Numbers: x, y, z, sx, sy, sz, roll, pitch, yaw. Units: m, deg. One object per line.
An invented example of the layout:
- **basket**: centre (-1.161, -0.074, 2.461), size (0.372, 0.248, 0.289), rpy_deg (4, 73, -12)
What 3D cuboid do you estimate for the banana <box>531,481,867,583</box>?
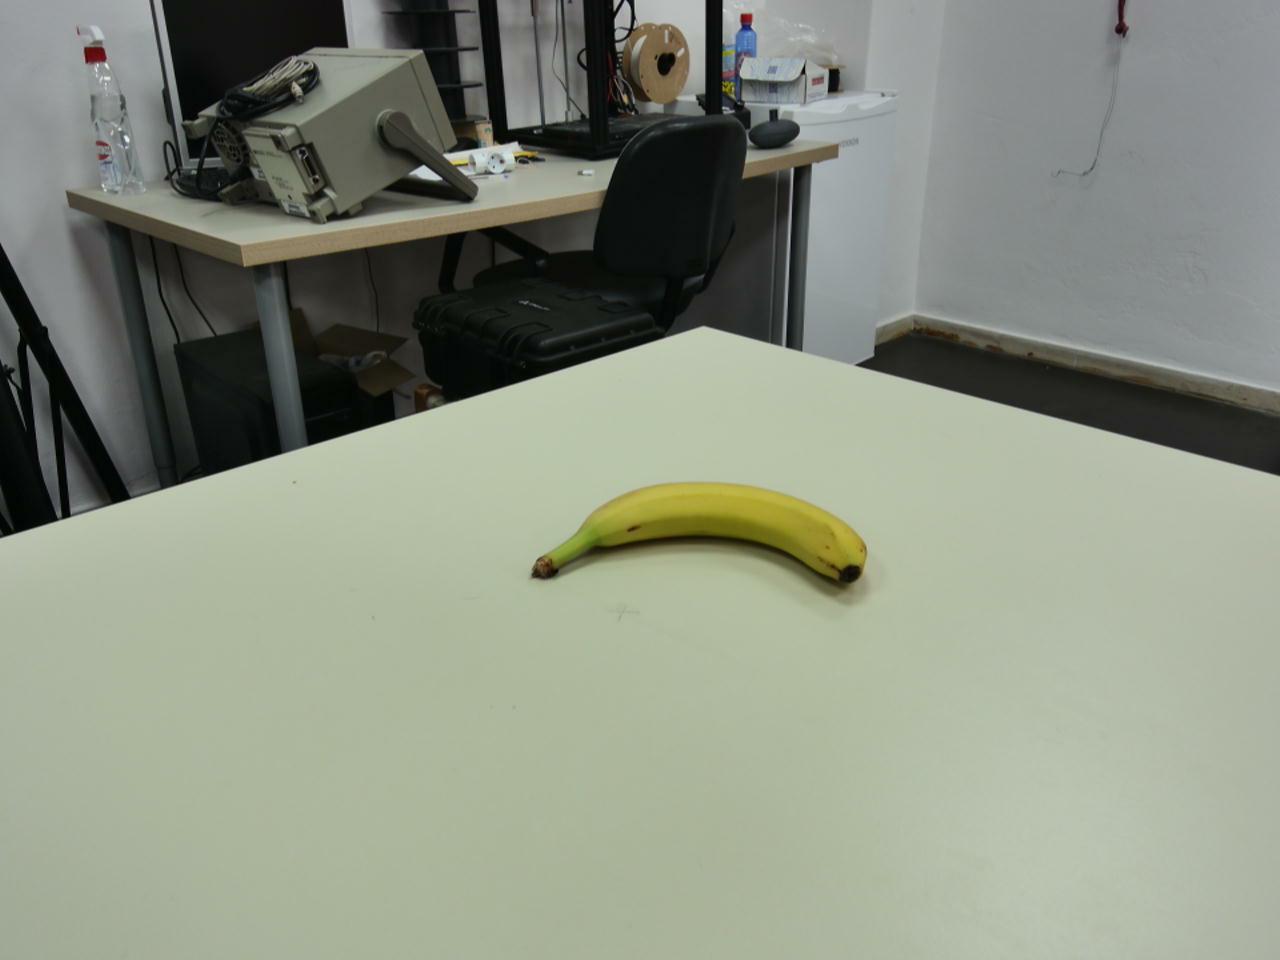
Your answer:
- **banana**: centre (0.038, 0.031, 0.623), size (0.196, 0.041, 0.094), rpy_deg (5, 24, 11)
